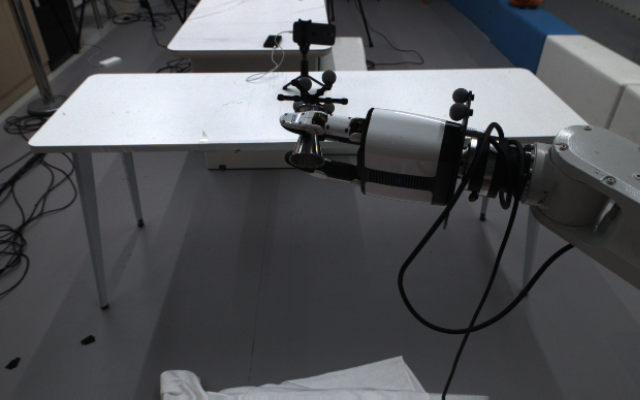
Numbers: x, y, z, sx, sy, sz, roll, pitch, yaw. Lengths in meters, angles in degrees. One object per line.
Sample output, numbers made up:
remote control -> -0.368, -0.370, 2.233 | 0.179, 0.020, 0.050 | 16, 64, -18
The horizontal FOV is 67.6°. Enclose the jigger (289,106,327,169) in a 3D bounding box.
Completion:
jigger -> -0.014, -0.079, 0.597 | 0.043, 0.043, 0.071 | 3, 71, 2
